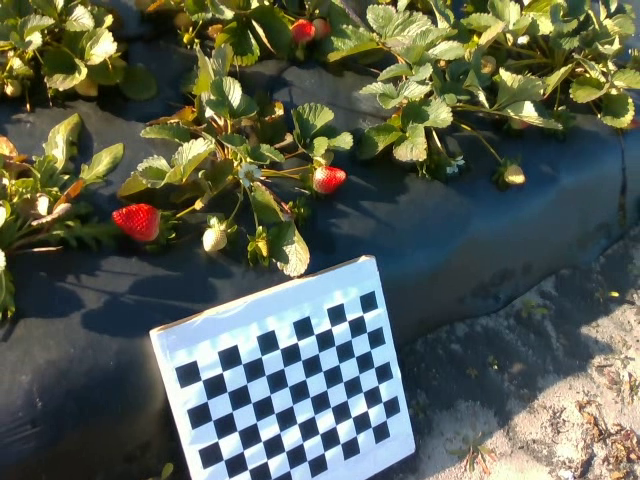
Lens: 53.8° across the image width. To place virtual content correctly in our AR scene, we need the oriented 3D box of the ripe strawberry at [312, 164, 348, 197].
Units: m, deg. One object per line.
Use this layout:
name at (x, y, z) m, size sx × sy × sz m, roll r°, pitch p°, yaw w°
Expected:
ripe strawberry at (0.011, -0.067, 0.671) m, size 0.045 × 0.037 × 0.042 m, roll -15°, pitch 23°, yaw 35°

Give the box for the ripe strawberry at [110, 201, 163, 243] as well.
ripe strawberry at (-0.171, -0.019, 0.580) m, size 0.053 × 0.044 × 0.036 m, roll 13°, pitch -3°, yaw -38°
